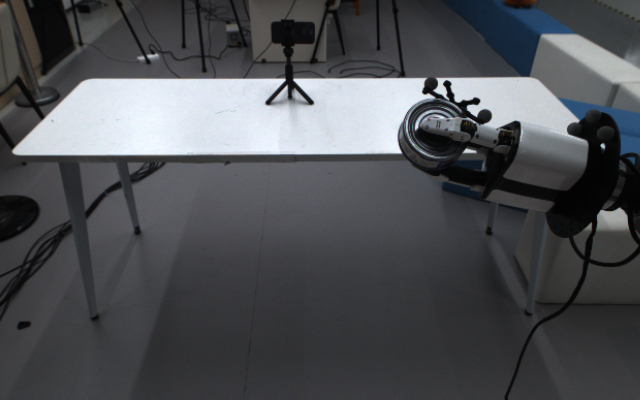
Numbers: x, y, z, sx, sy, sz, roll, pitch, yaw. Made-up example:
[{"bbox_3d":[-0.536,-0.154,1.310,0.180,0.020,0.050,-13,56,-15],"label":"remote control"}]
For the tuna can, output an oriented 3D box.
[{"bbox_3d":[0.145,-0.085,0.609,0.085,0.034,0.085,0,74,0],"label":"tuna can"}]
